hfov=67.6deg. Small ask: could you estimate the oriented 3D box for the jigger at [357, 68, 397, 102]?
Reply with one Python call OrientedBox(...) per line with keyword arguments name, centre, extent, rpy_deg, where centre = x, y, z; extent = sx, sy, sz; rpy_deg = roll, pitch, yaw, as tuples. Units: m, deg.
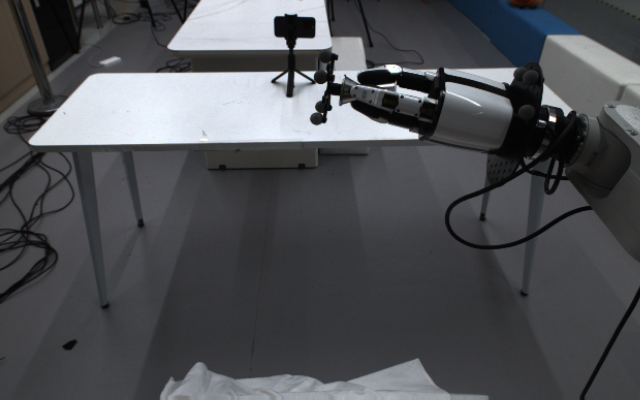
OrientedBox(name="jigger", centre=(0.065, -0.141, 0.625), extent=(0.071, 0.043, 0.043), rpy_deg=(9, 35, 4))
